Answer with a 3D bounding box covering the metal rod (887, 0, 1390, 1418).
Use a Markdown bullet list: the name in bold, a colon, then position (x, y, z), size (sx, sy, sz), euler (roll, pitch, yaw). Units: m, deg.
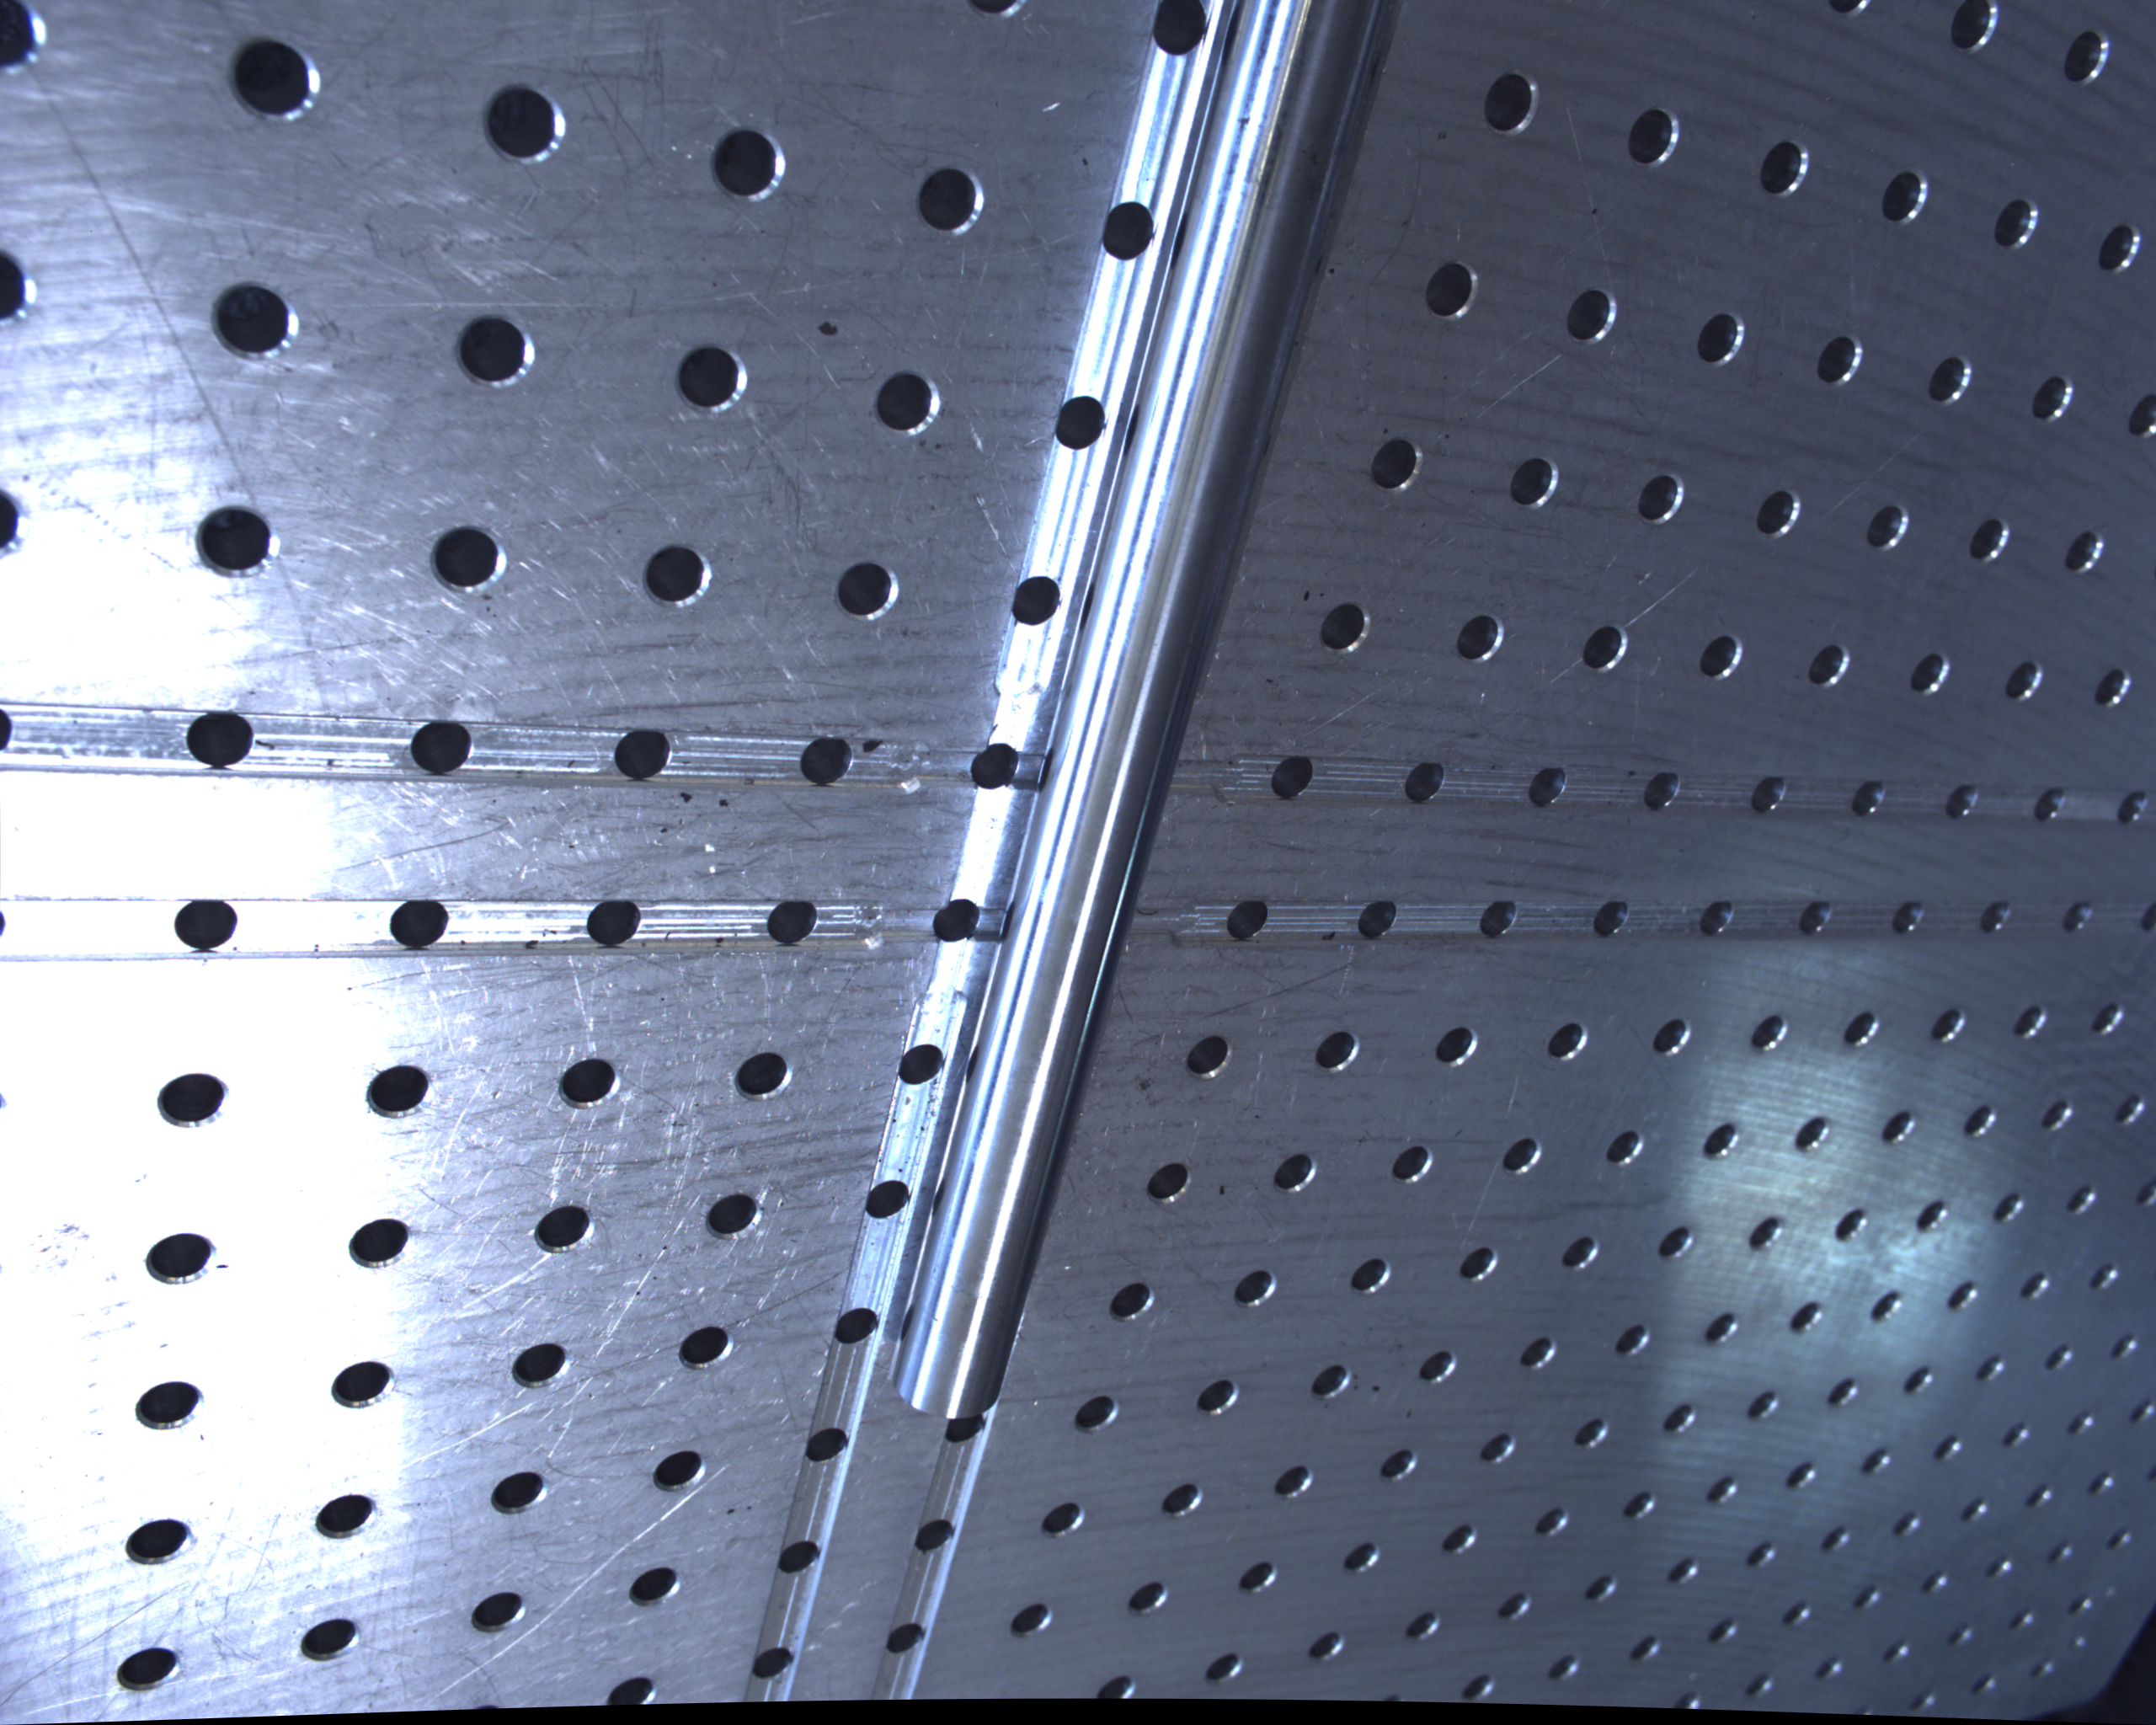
- **metal rod**: position (0.005, -0.015, 0.404), size (0.025, 0.025, 0.298), euler (0, 118, -29)
